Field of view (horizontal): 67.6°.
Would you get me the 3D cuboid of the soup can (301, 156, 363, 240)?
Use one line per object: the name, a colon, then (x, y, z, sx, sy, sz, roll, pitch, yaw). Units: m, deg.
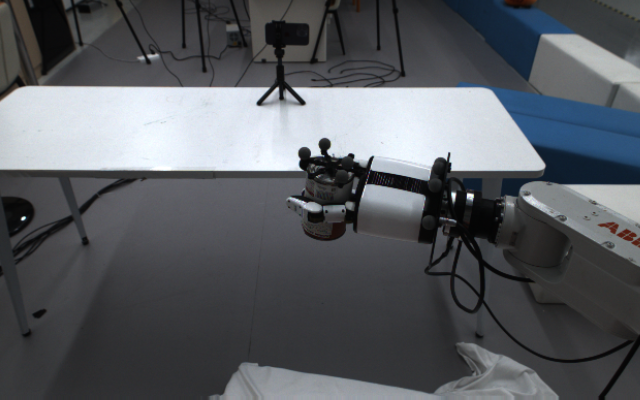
soup can: (0.011, -0.001, 0.688, 0.067, 0.101, 0.067, 5, 36, -4)
